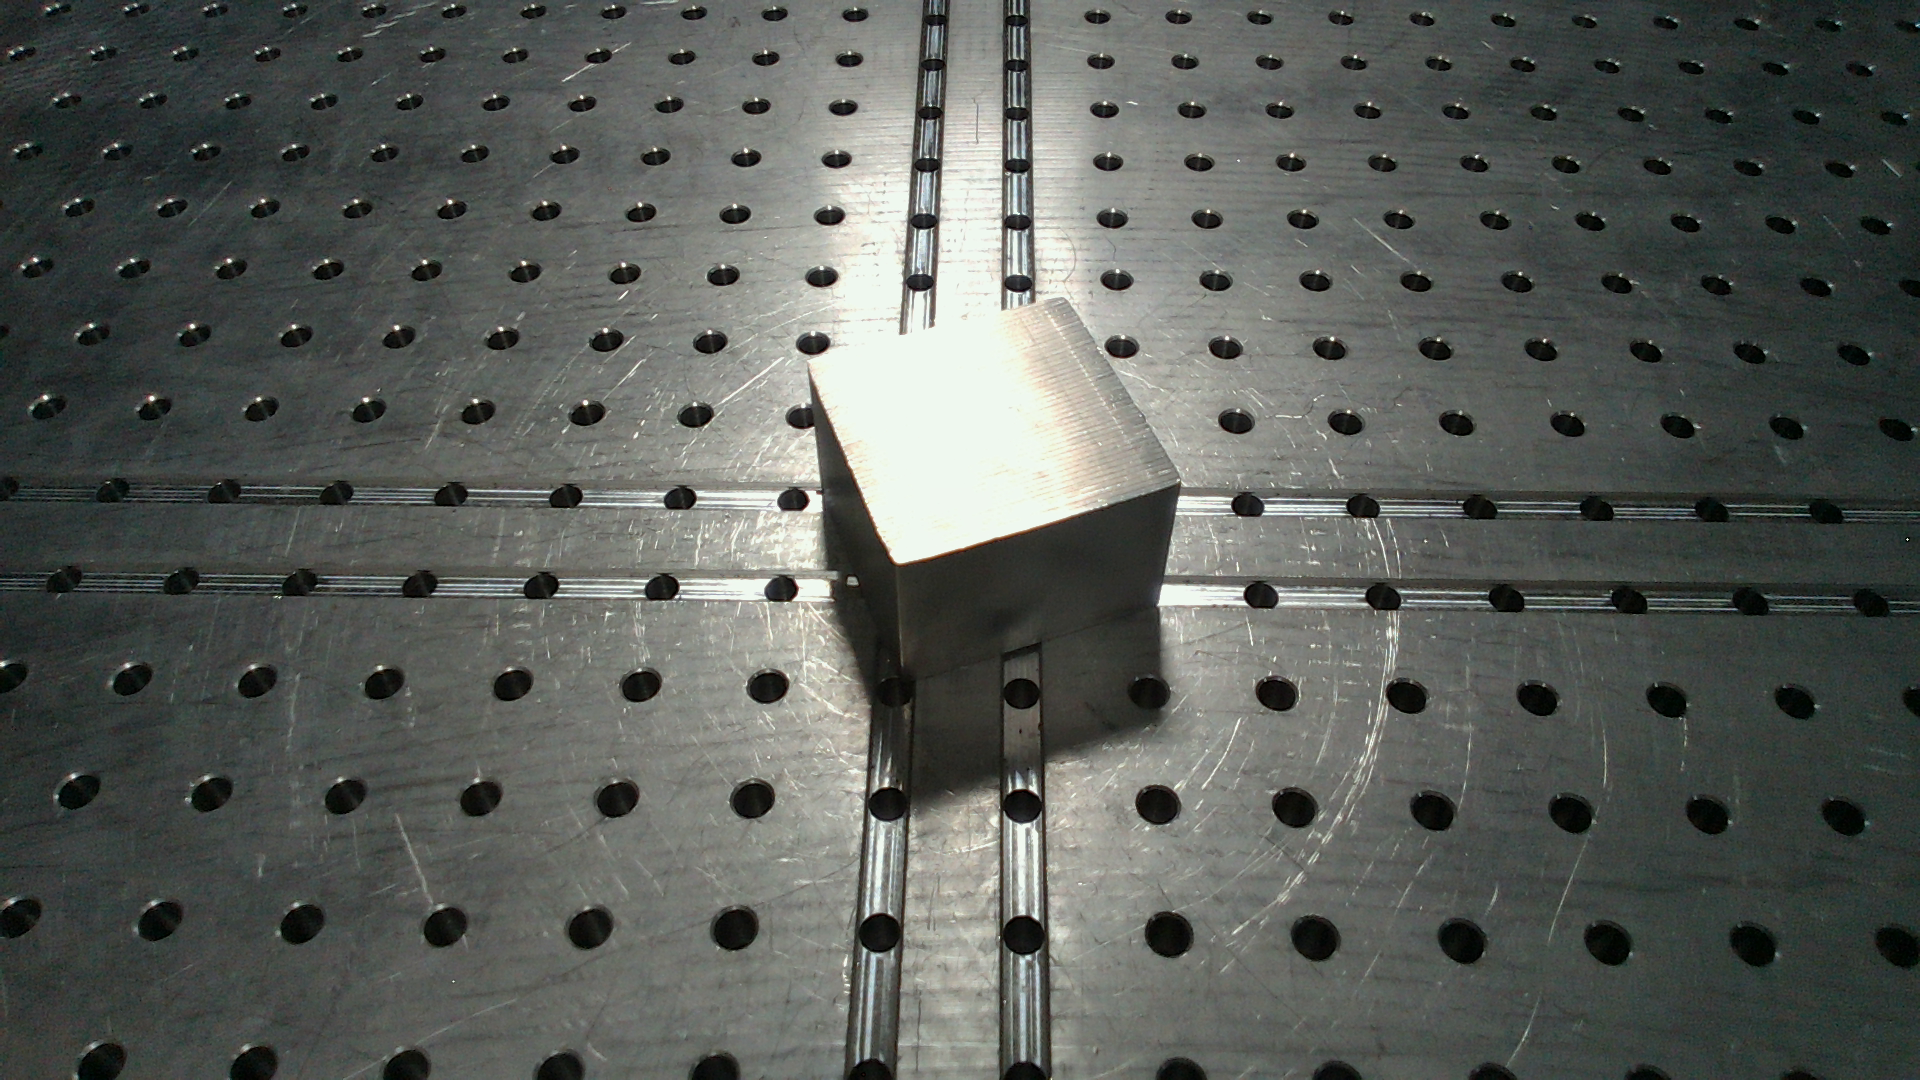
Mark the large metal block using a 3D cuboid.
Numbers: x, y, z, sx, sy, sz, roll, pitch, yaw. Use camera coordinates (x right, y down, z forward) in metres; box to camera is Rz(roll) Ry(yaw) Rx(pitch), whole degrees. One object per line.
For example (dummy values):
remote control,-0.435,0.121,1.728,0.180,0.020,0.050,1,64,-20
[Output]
large metal block,0.008,-0.017,0.389,0.080,0.050,0.080,-16,52,-13
